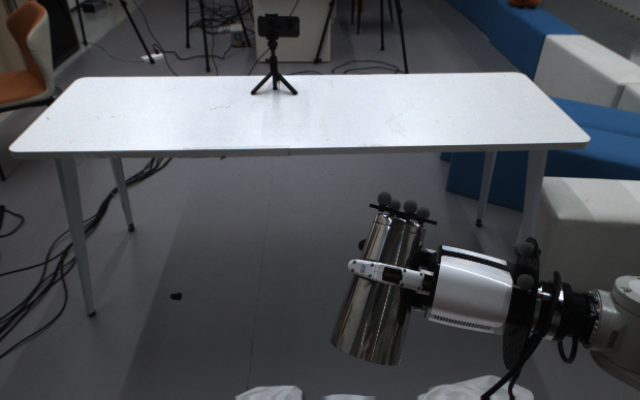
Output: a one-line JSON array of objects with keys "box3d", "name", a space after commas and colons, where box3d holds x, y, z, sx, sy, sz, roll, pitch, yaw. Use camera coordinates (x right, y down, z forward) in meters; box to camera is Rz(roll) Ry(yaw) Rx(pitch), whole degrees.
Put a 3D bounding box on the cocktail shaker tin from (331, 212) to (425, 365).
[{"box3d": [0.082, 0.108, 0.611, 0.093, 0.170, 0.093, 16, -2, 1], "name": "cocktail shaker tin"}]
